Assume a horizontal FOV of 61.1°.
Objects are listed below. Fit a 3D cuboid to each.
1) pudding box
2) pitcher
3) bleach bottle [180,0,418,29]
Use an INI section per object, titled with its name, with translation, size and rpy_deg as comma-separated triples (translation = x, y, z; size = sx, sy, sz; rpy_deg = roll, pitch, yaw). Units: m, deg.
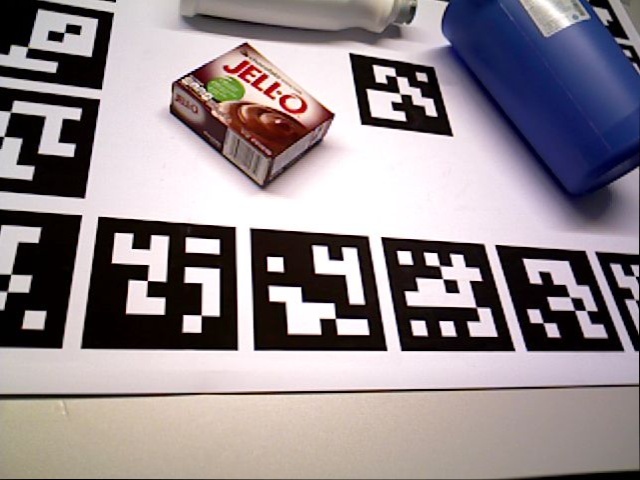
[pudding box]
translation = -0.056, -0.107, 0.464
size = 0.114, 0.039, 0.088
rpy_deg = 43, 51, 7
[pitcher]
translation = 0.247, -0.154, 0.564
size = 0.186, 0.136, 0.242
rpy_deg = -1, 61, -60
[bleach bottle]
translation = -0.014, -0.257, 0.556
size = 0.247, 0.069, 0.101
rpy_deg = 2, 65, -20
